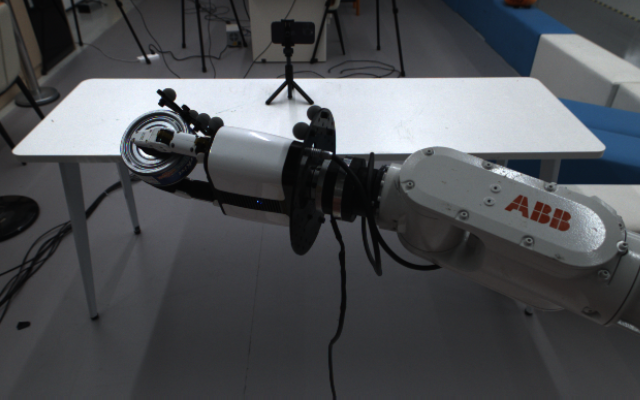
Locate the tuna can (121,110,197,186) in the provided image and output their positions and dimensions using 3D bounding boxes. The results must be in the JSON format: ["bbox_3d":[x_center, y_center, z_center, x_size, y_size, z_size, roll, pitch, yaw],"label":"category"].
[{"bbox_3d":[-0.185,-0.061,0.564,0.085,0.034,0.085,-4,69,9],"label":"tuna can"}]
